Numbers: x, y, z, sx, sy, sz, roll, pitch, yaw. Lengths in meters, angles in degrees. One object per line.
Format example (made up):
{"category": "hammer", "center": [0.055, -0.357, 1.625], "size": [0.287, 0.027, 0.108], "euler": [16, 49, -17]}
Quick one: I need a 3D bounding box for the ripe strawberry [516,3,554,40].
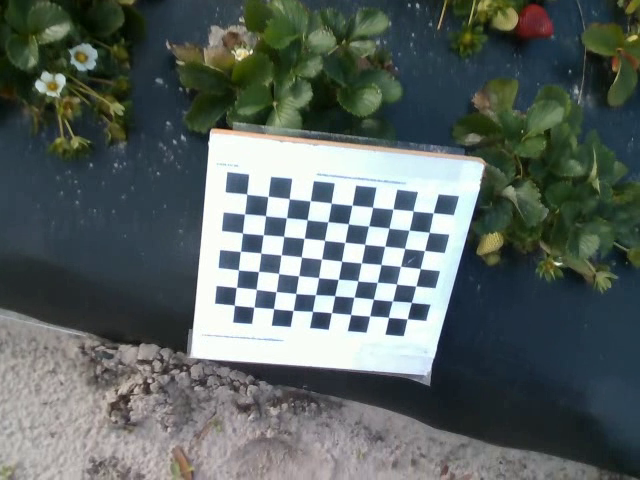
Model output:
{"category": "ripe strawberry", "center": [0.298, -0.301, 0.929], "size": [0.048, 0.051, 0.055], "euler": [23, 25, -52]}
